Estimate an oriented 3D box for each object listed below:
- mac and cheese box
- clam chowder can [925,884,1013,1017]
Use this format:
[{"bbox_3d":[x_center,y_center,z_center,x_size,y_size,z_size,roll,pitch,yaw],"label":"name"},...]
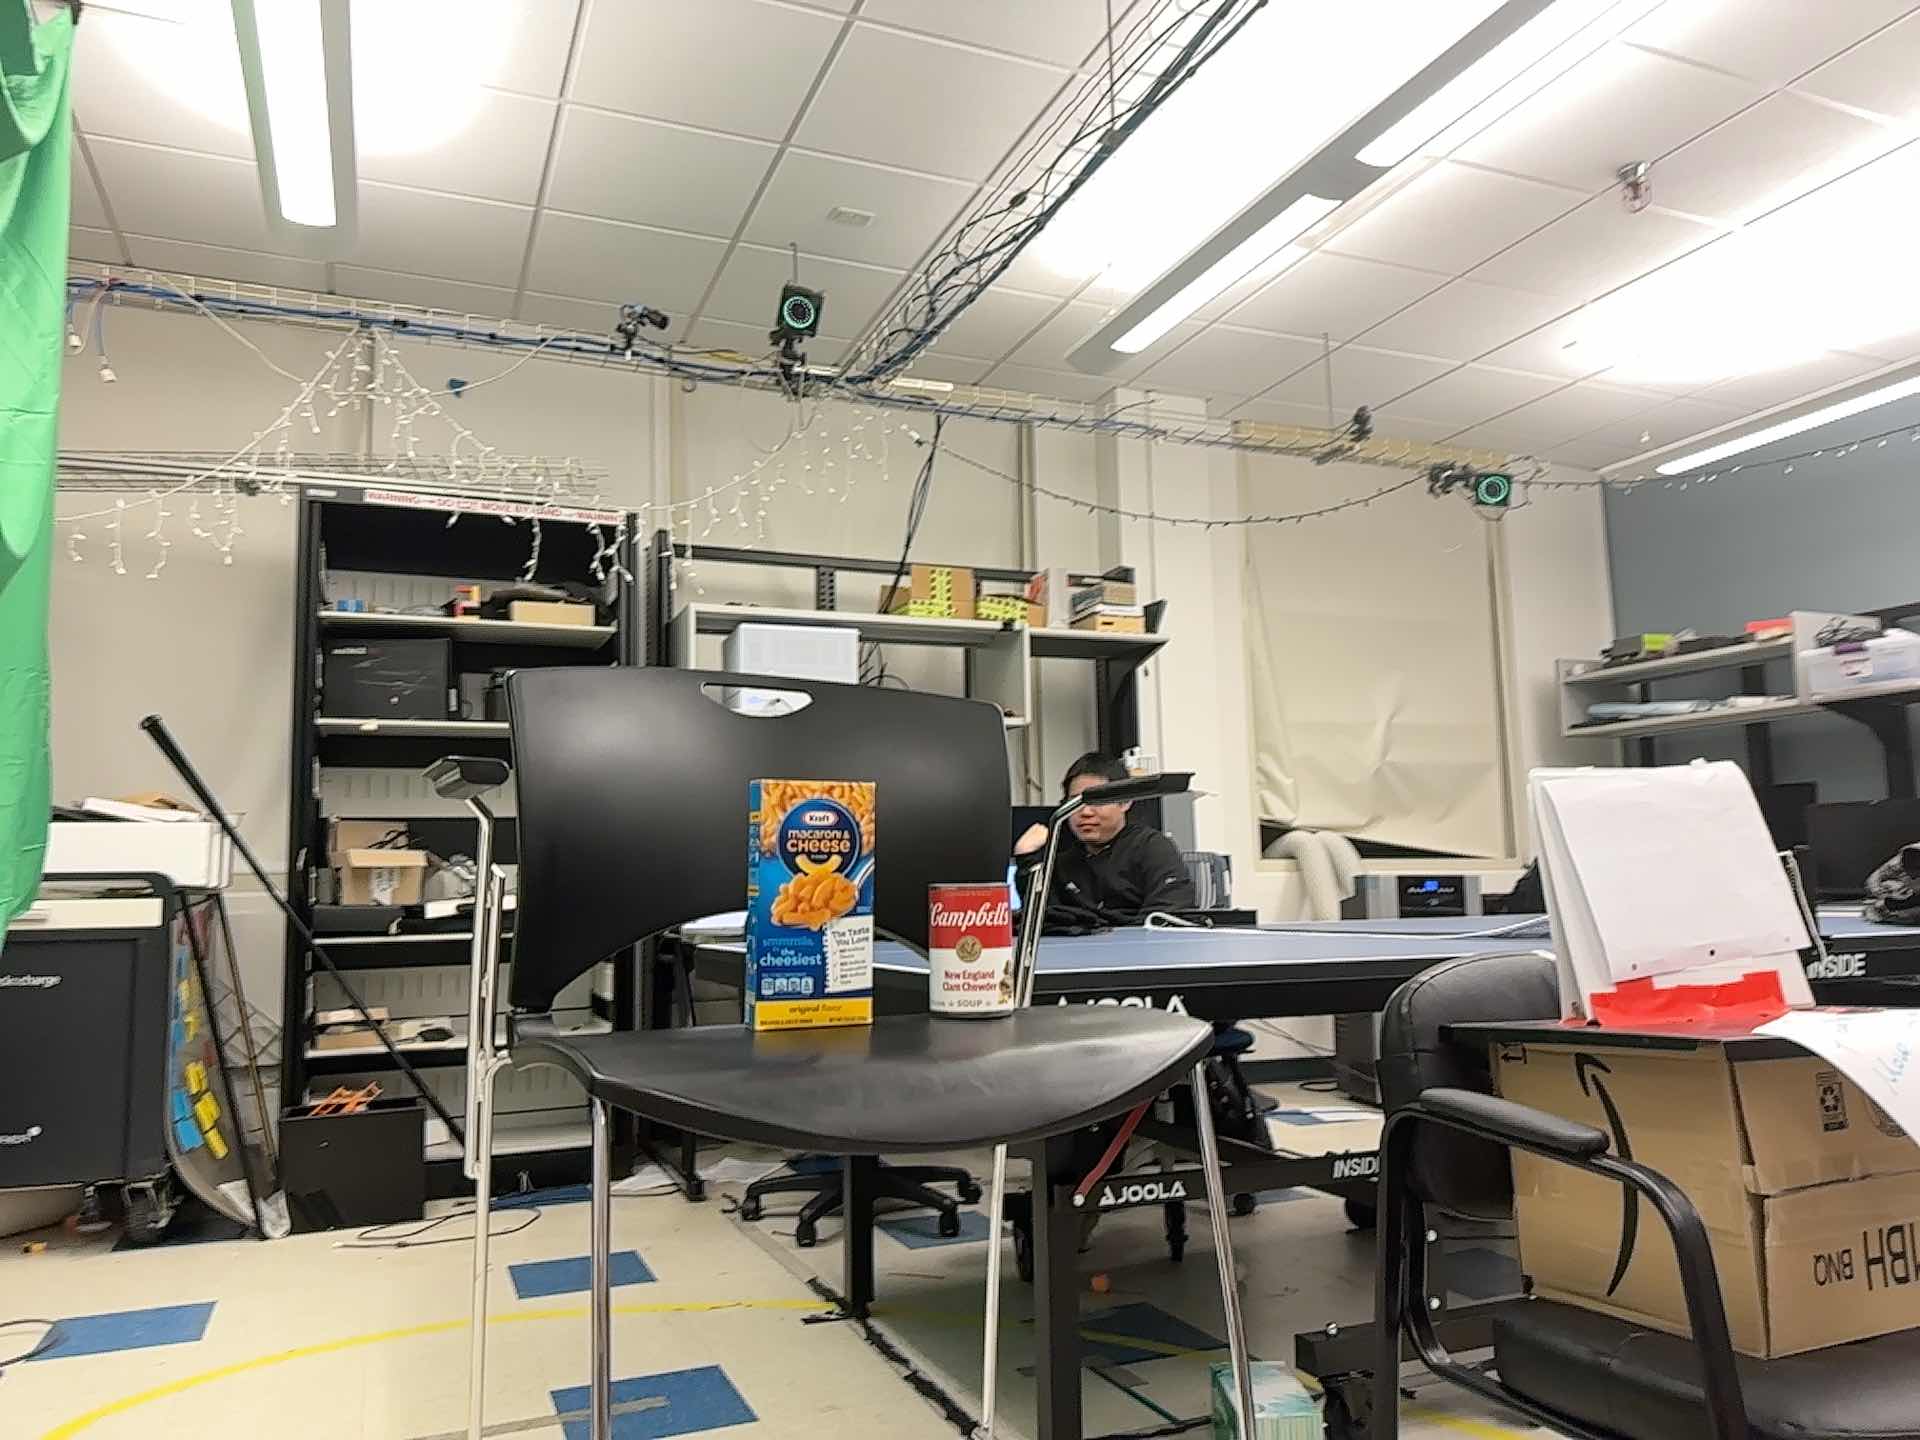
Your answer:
[{"bbox_3d":[-0.113,0.137,1.021,0.088,0.181,0.035,1,-6,-17],"label":"mac and cheese box"},{"bbox_3d":[0.007,0.184,1.081,0.068,0.102,0.068,-2,-8,0],"label":"clam chowder can"}]
